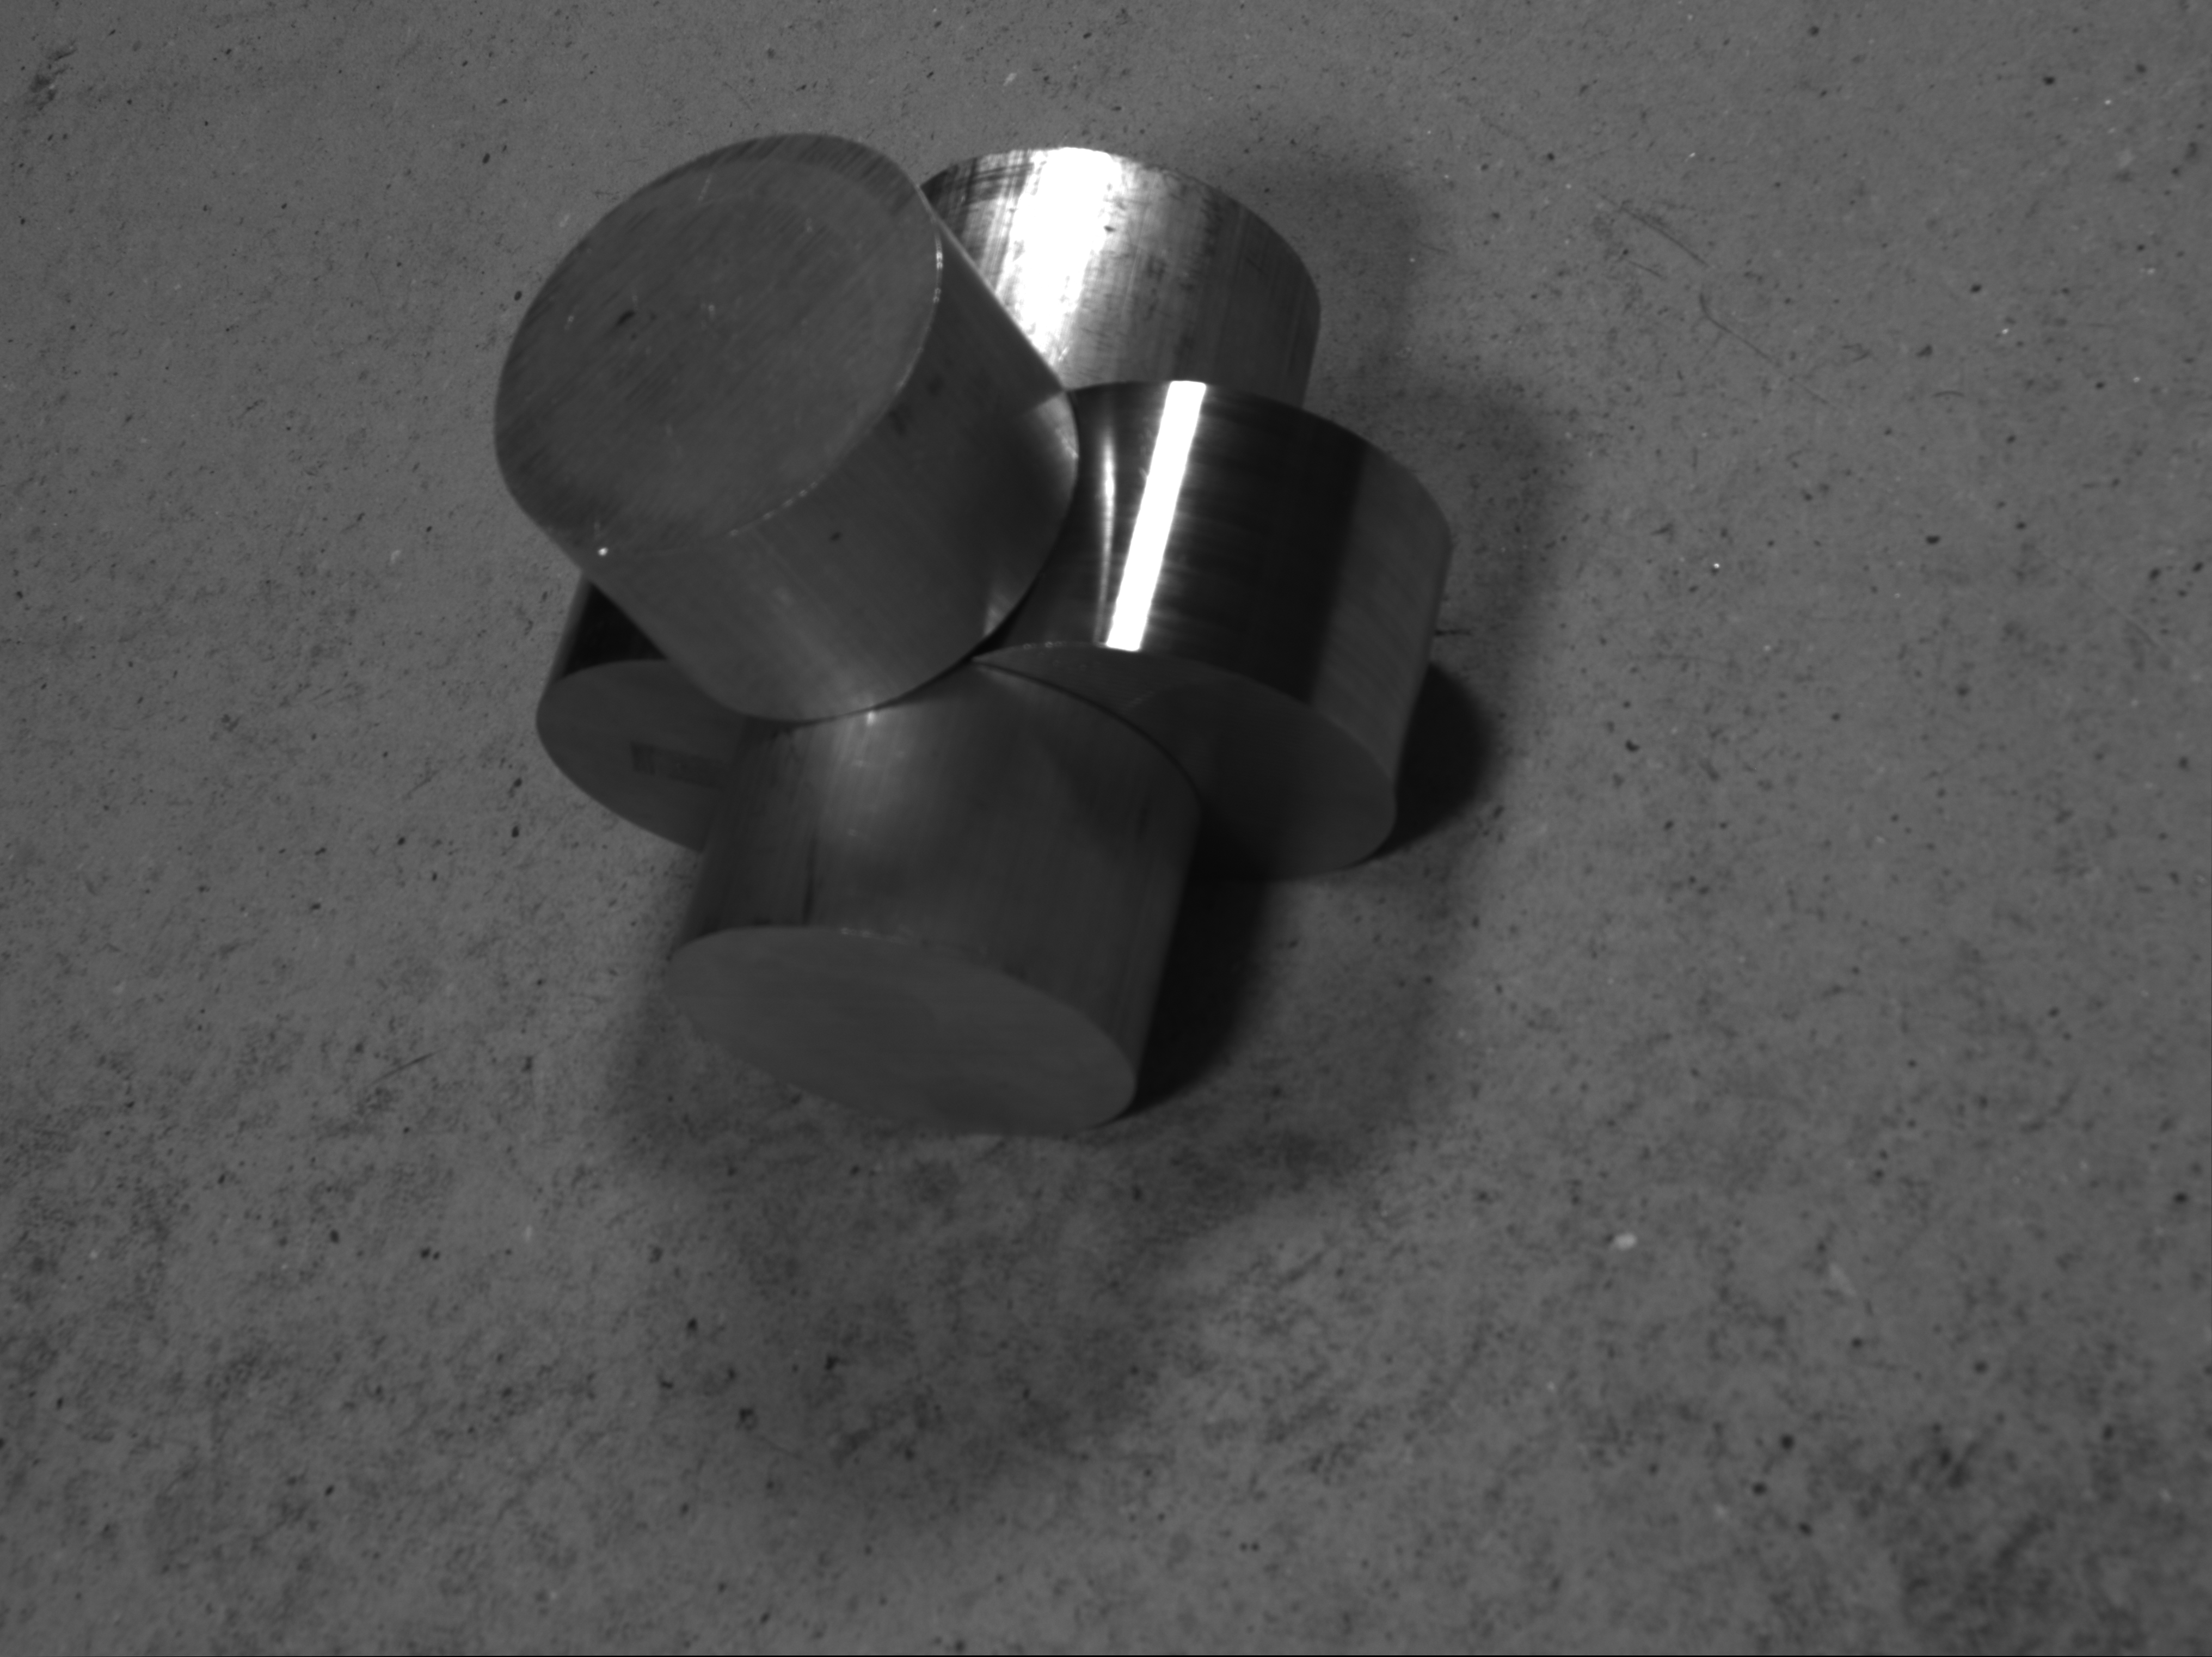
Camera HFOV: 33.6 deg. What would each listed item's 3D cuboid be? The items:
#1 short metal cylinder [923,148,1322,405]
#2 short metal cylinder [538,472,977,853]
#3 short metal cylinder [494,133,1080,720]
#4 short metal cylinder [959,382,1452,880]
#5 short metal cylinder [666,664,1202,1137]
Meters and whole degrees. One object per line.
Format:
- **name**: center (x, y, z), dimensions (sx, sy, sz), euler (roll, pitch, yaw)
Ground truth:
- **short metal cylinder**: center (-0.005, -0.077, 0.659), dimensions (0.080, 0.080, 0.050), euler (-2, 61, 28)
- **short metal cylinder**: center (-0.056, -0.031, 0.659), dimensions (0.080, 0.080, 0.050), euler (-1, 61, 28)
- **short metal cylinder**: center (-0.051, -0.065, 0.592), dimensions (0.080, 0.050, 0.080), euler (-13, 56, 21)
- **short metal cylinder**: center (0.015, -0.032, 0.621), dimensions (0.080, 0.080, 0.050), euler (-1, 61, 28)
- **short metal cylinder**: center (-0.028, 0.012, 0.616), dimensions (0.080, 0.080, 0.050), euler (0, 61, 28)
